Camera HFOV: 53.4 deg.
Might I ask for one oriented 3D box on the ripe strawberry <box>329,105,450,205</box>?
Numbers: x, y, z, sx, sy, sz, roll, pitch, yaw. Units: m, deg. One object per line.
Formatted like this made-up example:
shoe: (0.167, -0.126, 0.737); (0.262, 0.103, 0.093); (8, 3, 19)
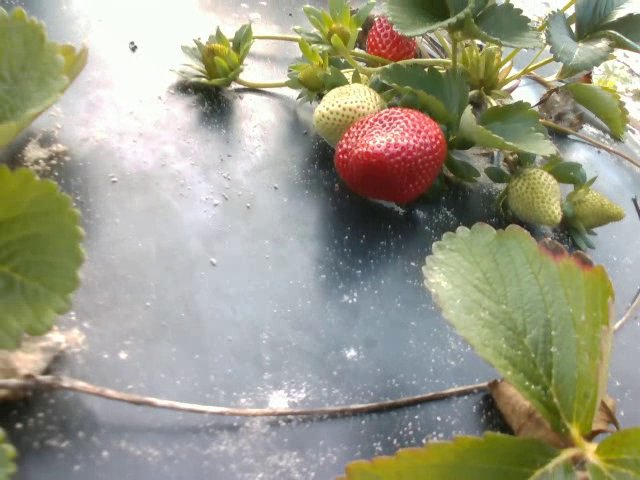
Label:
ripe strawberry: (0.025, -0.037, 0.259); (0.051, 0.048, 0.055); (-10, 1, 22)
